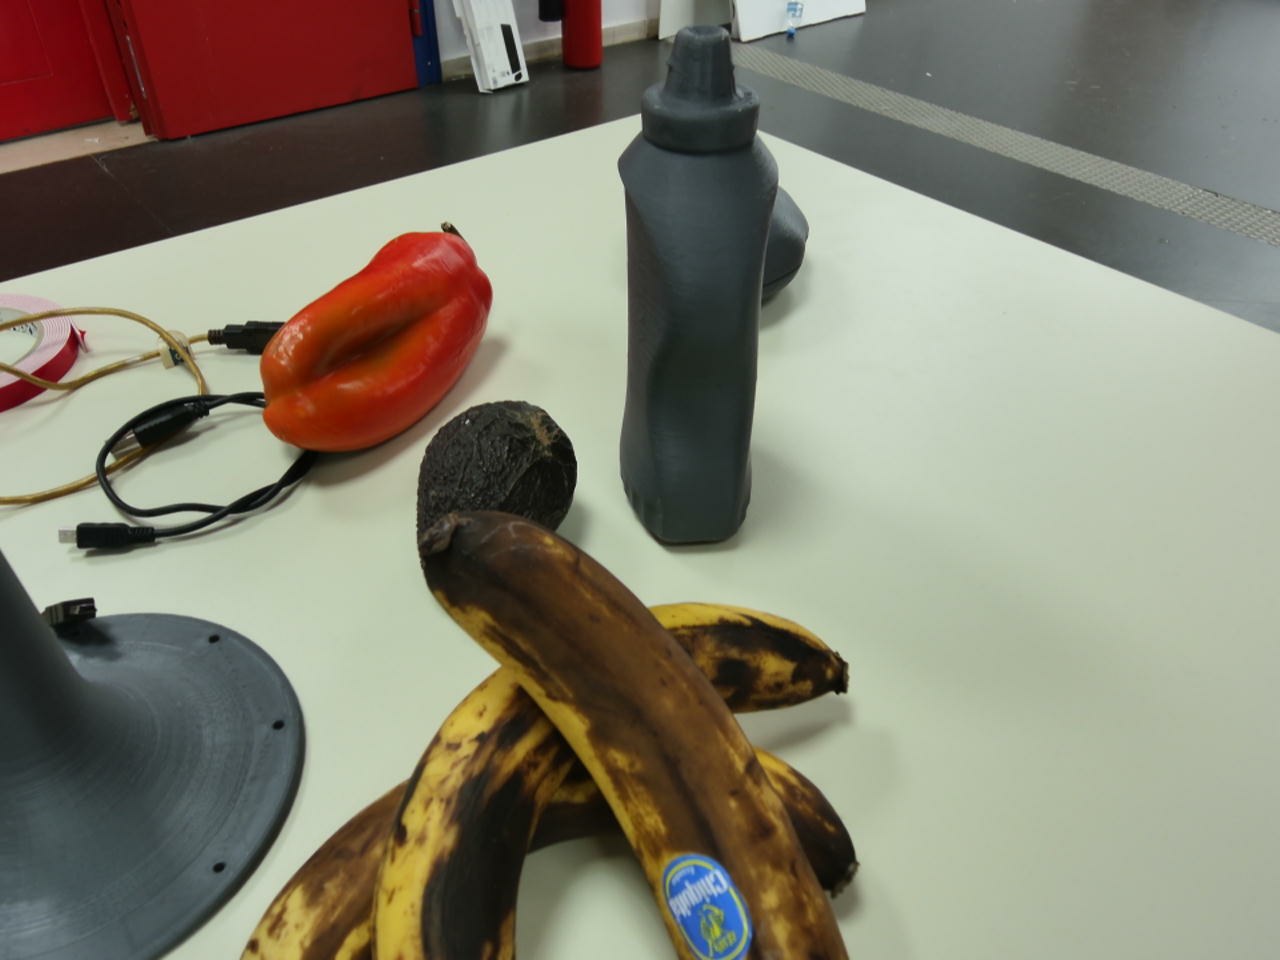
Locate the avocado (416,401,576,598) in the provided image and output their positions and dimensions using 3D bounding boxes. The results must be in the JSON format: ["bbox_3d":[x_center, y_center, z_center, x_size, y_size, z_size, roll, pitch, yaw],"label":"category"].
[{"bbox_3d":[-0.062,0.004,0.408,0.062,0.062,0.092,17,40,20],"label":"avocado"}]
